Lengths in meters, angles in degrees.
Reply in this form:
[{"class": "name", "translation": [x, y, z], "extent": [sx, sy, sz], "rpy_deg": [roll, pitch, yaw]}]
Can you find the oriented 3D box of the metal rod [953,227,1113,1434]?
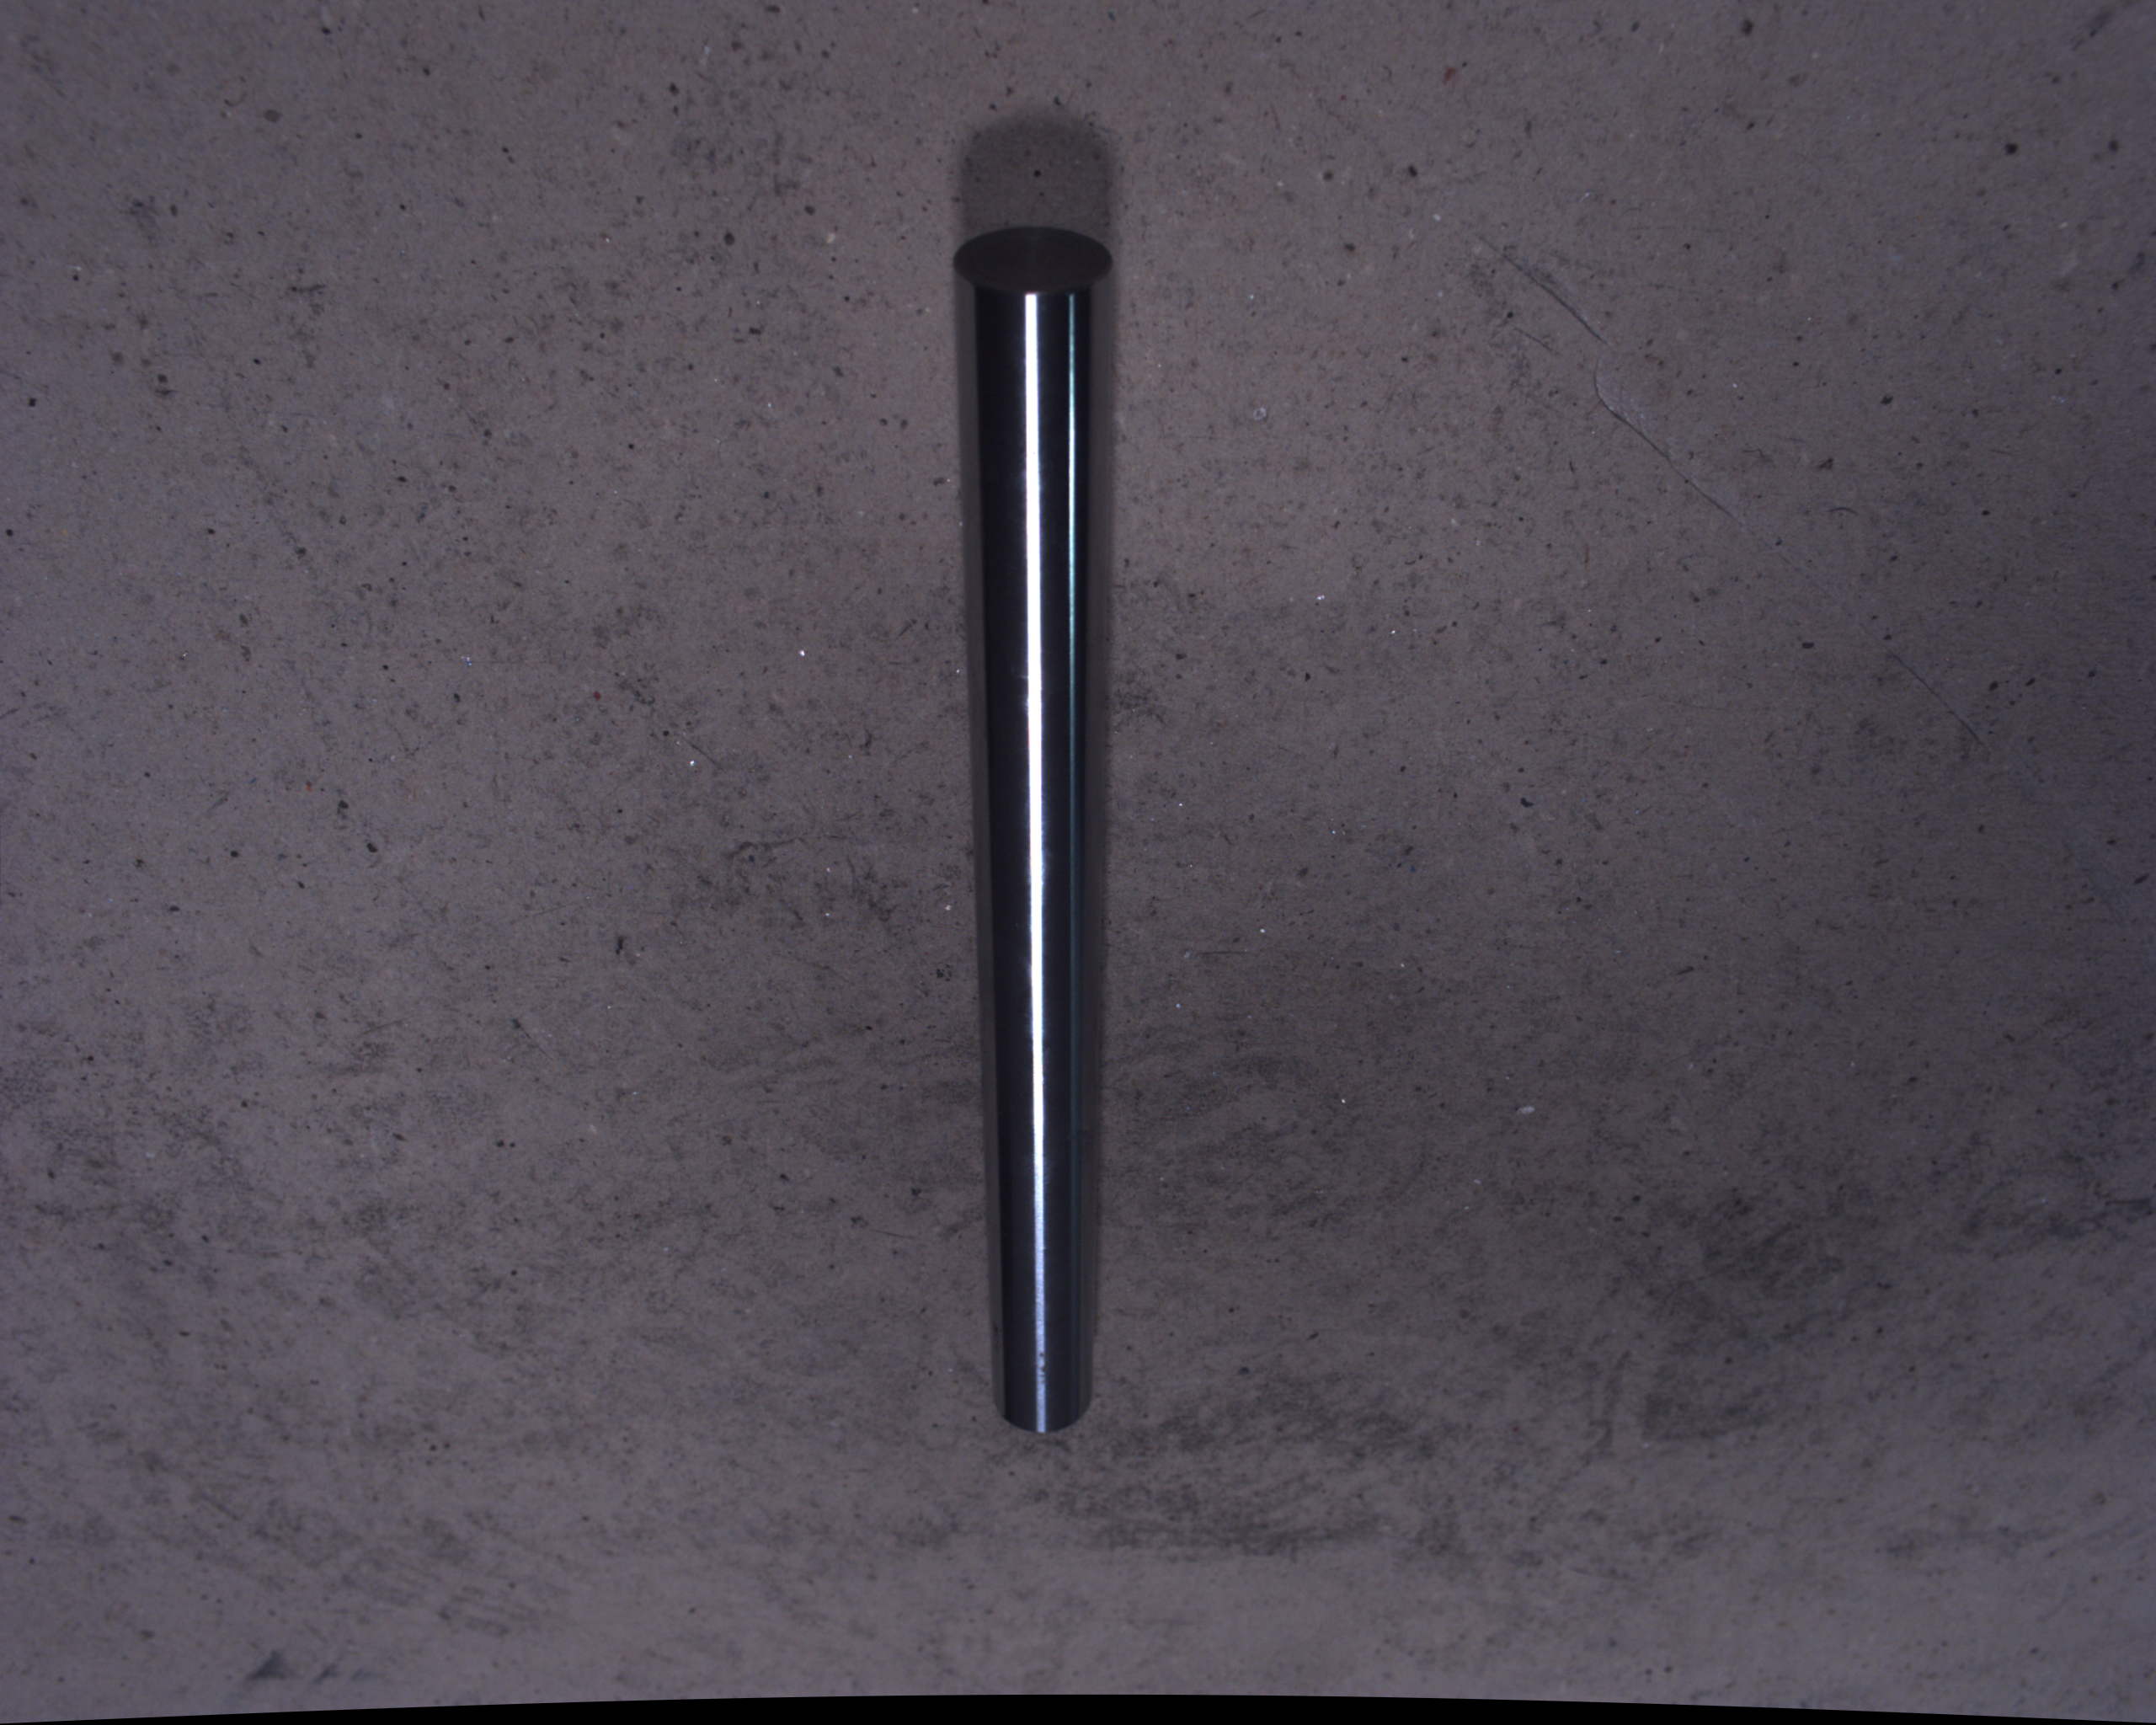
[{"class": "metal rod", "translation": [-0.008, 0.019, 0.424], "extent": [0.025, 0.025, 0.298], "rpy_deg": [0, 130, -1]}]
